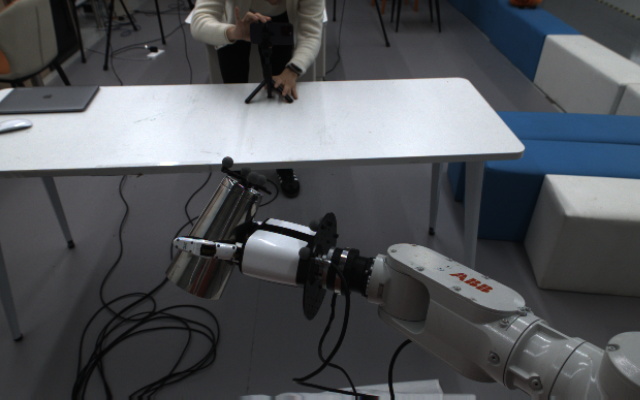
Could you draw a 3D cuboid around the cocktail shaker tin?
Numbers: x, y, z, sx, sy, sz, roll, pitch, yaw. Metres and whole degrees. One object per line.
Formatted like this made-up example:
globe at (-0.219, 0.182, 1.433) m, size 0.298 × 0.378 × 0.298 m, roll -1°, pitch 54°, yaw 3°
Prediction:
cocktail shaker tin at (-0.154, 0.051, 0.735) m, size 0.093 × 0.170 × 0.093 m, roll 27°, pitch 2°, yaw -1°
